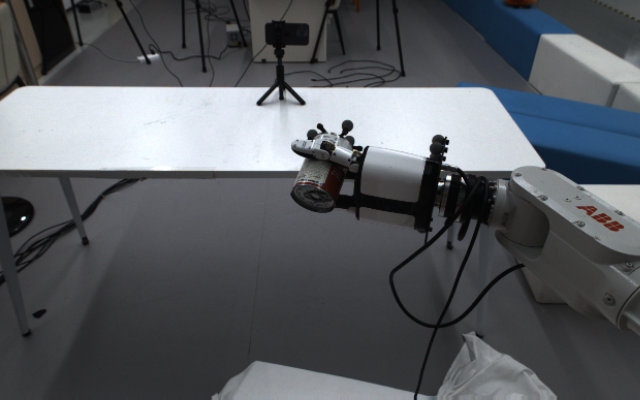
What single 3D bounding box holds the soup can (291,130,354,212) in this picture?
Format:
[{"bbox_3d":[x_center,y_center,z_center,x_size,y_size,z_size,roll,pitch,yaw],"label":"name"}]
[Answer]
[{"bbox_3d":[0.004,-0.042,0.713,0.067,0.067,0.101,12,59,14],"label":"soup can"}]
